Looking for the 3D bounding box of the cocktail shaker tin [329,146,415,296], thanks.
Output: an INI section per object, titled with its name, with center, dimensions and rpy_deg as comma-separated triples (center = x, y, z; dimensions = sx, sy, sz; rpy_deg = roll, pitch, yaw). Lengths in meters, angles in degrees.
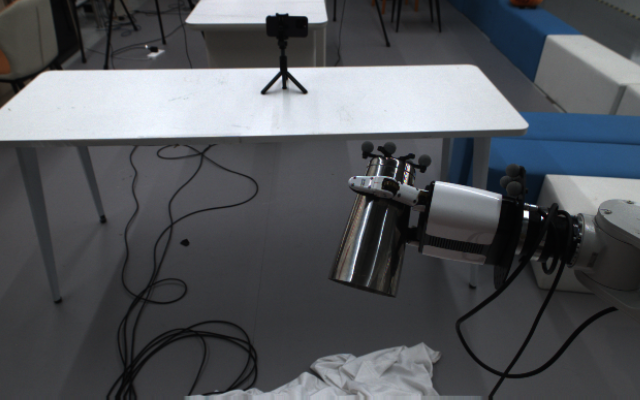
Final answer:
[cocktail shaker tin]
center = 0.079, 0.030, 0.641
dimensions = 0.093, 0.093, 0.170
rpy_deg = 13, 76, 15
